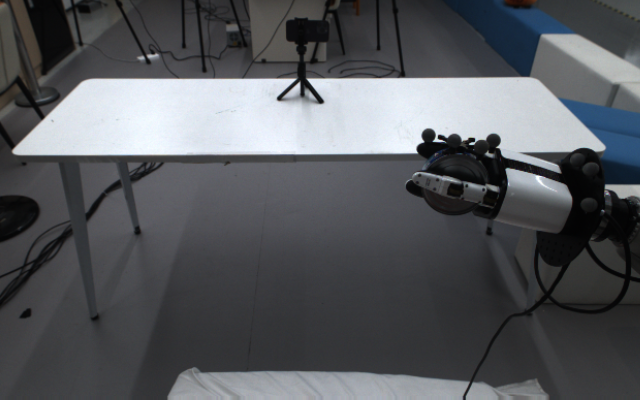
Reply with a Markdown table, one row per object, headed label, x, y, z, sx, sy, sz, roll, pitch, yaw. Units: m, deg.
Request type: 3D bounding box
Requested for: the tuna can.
| label | x | y | z | sx | sy | sz | roll | pitch | yaw |
| --- | --- | --- | --- | --- | --- | --- | --- | --- | --- |
| tuna can | 0.177 | -0.026 | 0.637 | 0.085 | 0.085 | 0.034 | 7 | 22 | 7 |
